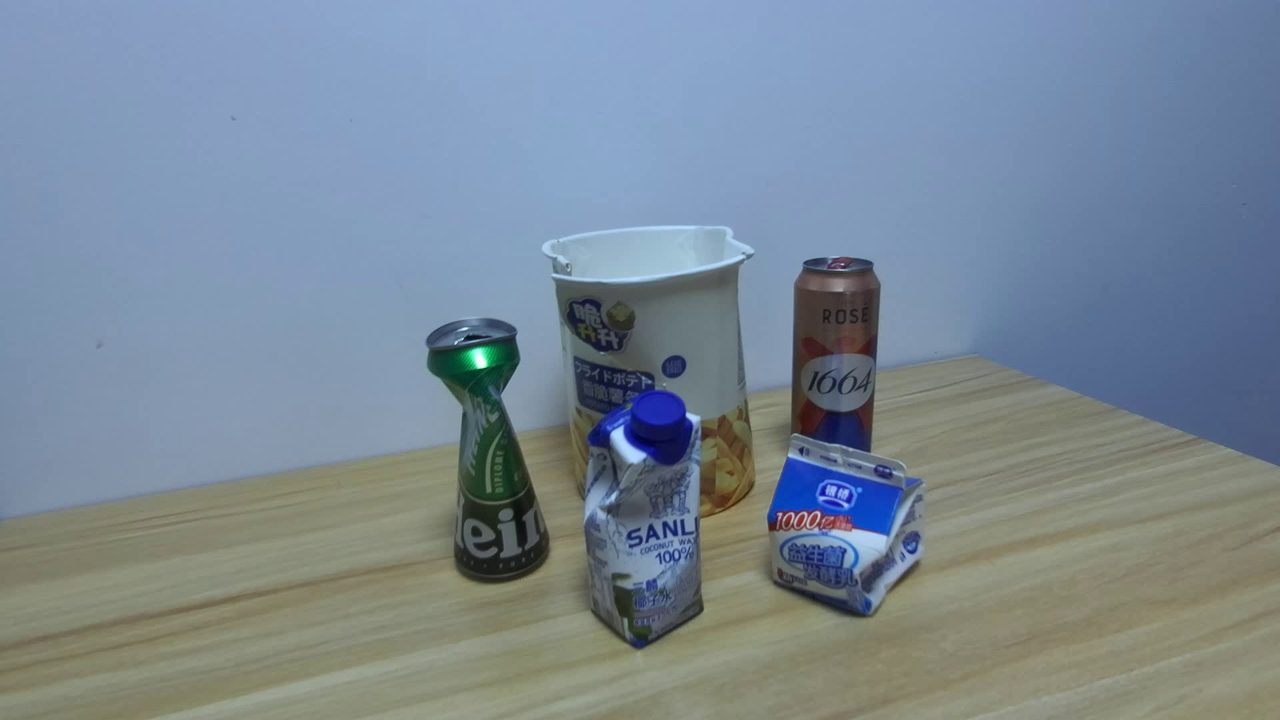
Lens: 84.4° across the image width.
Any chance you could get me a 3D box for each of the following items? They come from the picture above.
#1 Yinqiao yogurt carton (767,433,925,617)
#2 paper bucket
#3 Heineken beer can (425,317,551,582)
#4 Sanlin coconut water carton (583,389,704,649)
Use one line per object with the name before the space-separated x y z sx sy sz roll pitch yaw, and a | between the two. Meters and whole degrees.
Yinqiao yogurt carton | 0.124 0.093 0.426 0.074 0.097 0.080 10 30 34
paper bucket | 0.015 0.005 0.550 0.146 0.197 0.202 -7 18 -6
Heineken beer can | -0.099 0.059 0.466 0.066 0.164 0.078 2 20 17
Sanlin coconut water carton | 0.000 0.083 0.401 0.061 0.144 0.069 -16 23 -33
